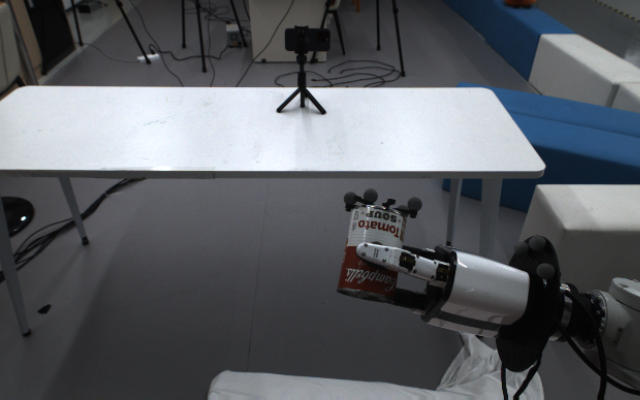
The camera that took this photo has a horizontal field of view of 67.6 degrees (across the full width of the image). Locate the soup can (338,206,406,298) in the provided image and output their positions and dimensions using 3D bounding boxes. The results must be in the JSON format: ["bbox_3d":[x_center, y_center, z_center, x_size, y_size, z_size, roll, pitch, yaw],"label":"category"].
[{"bbox_3d":[0.064,0.062,0.569,0.067,0.067,0.101,9,74,9],"label":"soup can"}]
